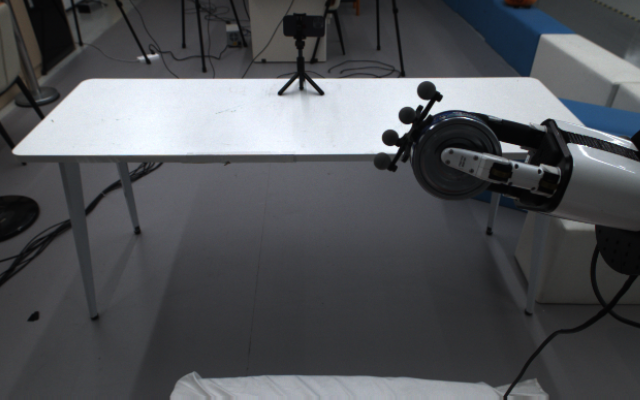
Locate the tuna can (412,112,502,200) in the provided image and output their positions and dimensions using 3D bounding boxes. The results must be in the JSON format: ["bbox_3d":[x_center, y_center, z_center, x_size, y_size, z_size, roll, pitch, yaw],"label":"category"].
[{"bbox_3d":[0.136,-0.047,0.482,0.085,0.085,0.034,3,20,1],"label":"tuna can"}]
